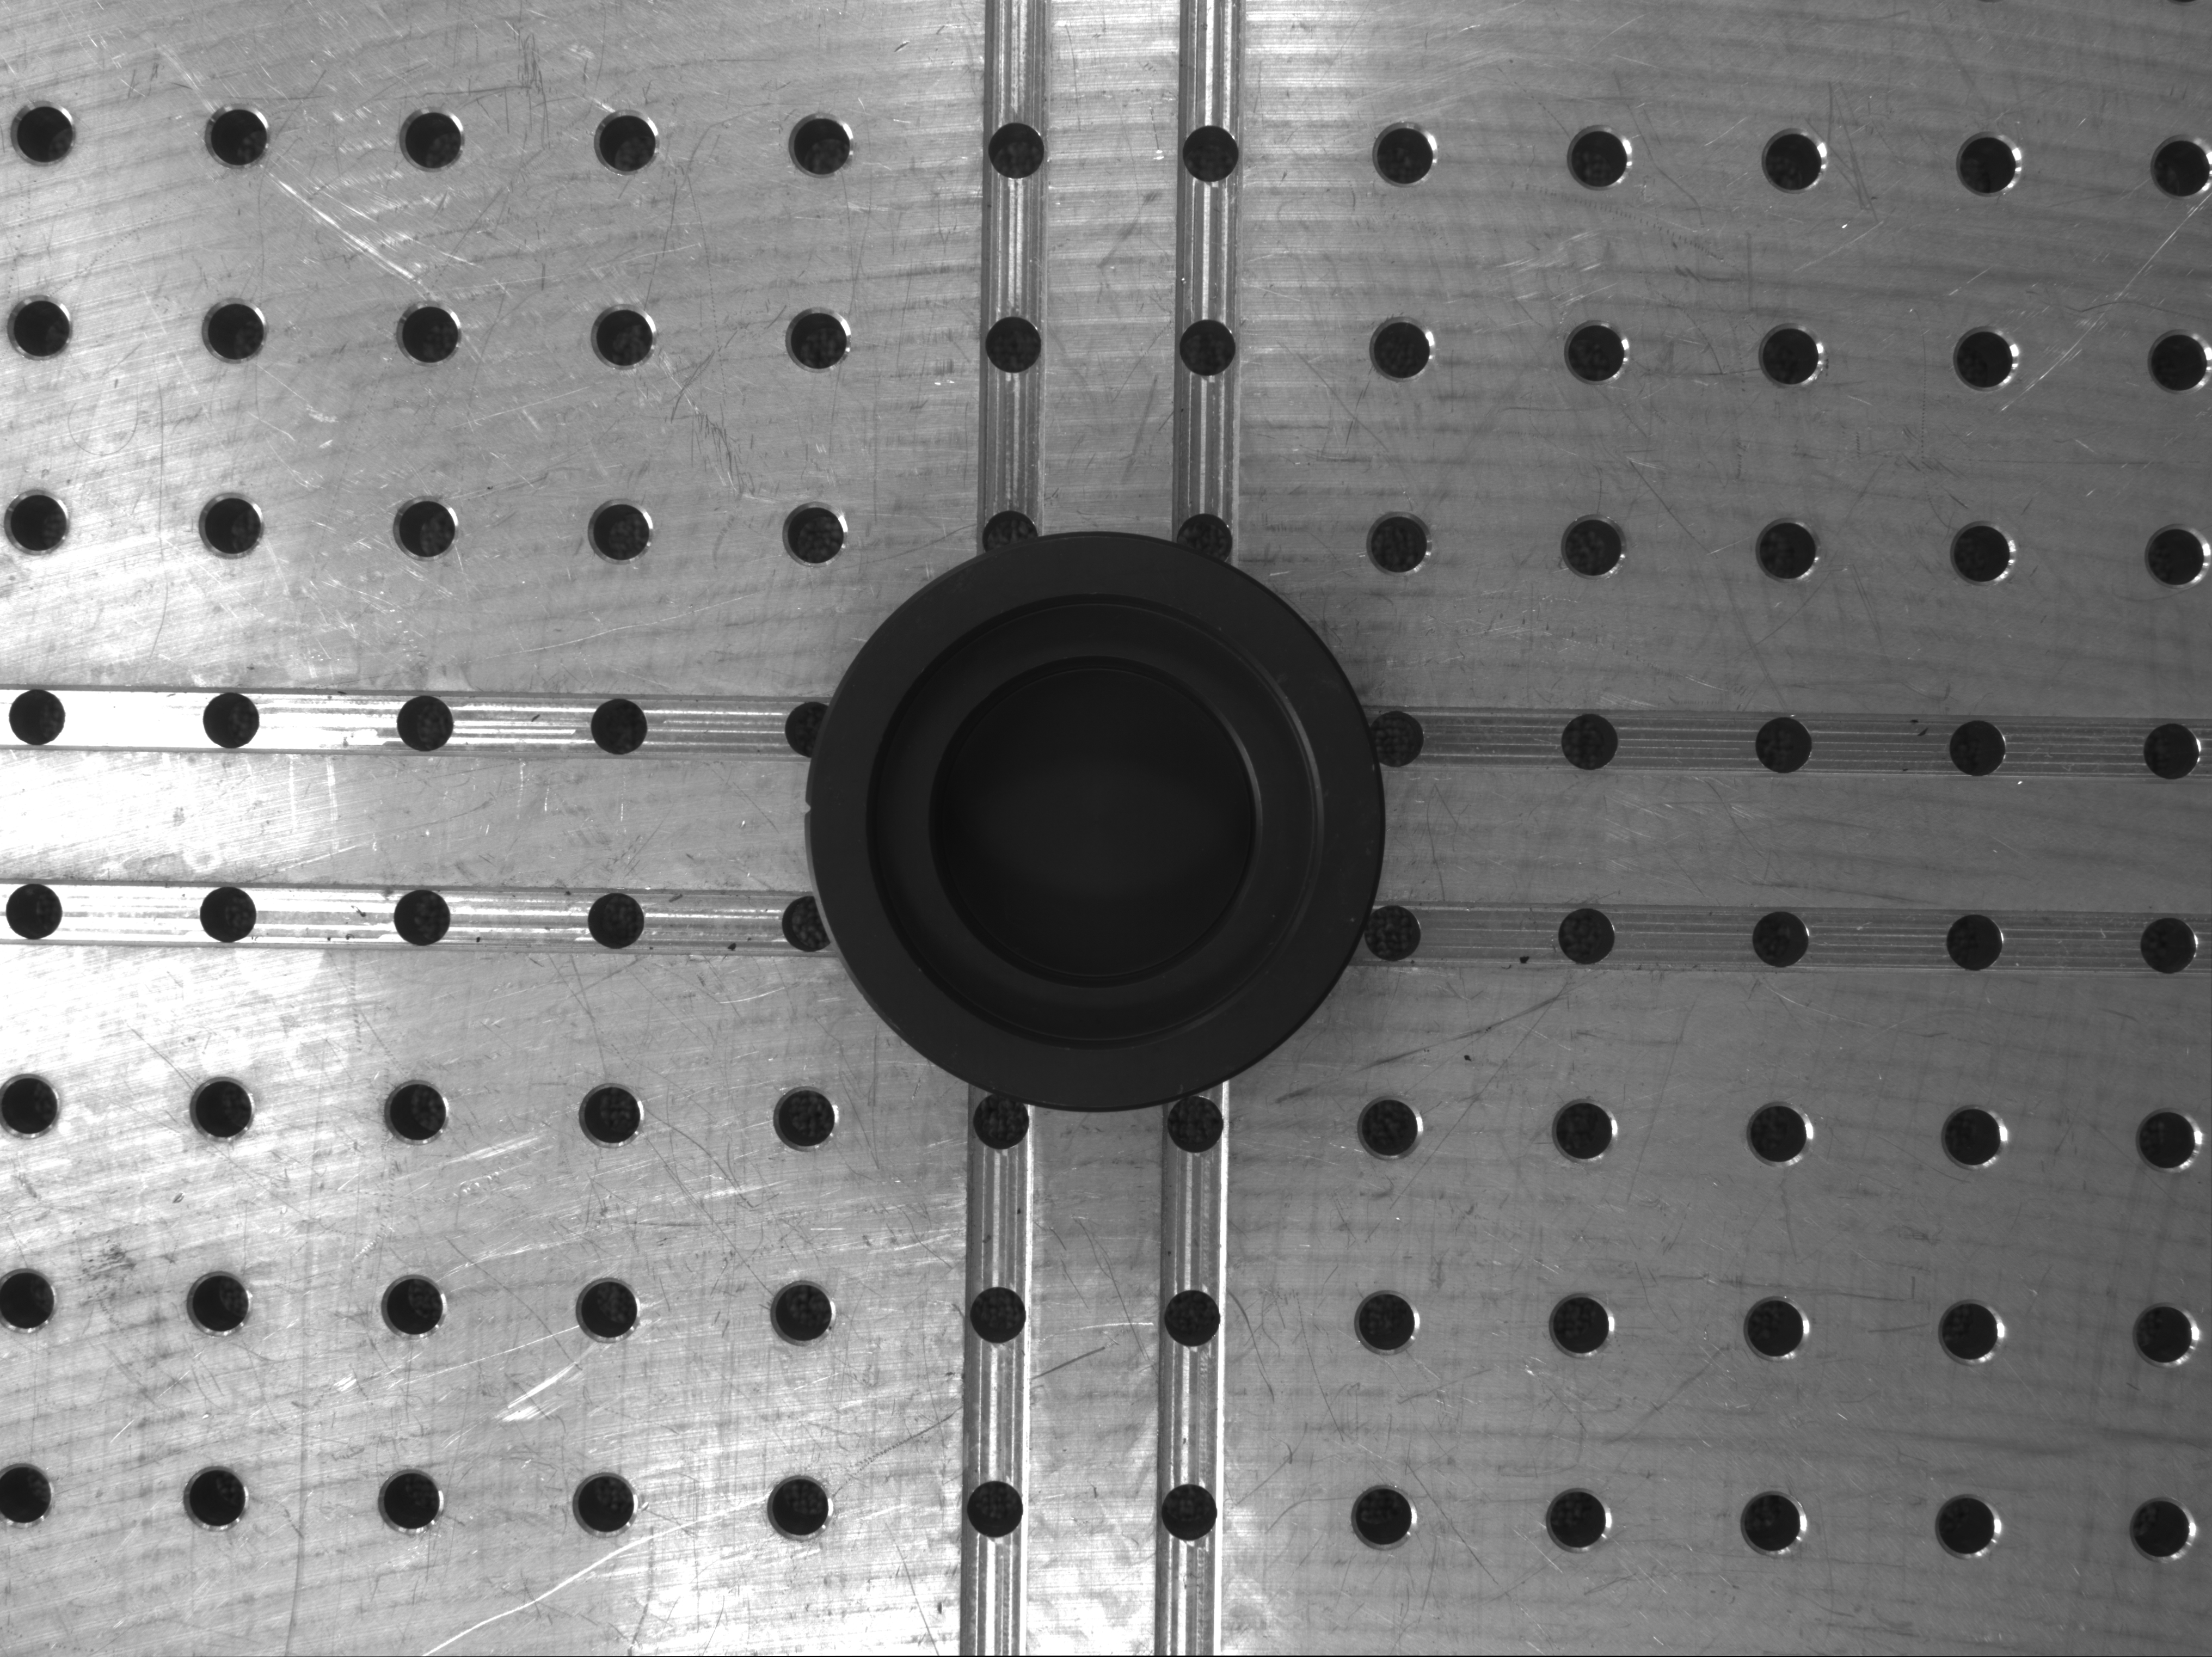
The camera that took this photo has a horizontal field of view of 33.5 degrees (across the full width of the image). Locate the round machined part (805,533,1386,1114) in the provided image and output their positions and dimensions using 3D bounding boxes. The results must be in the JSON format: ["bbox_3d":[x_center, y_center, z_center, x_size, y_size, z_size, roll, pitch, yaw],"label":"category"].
[{"bbox_3d":[-0.002,-0.001,0.639,0.098,0.042,0.098,0,90,0],"label":"round machined part"}]
